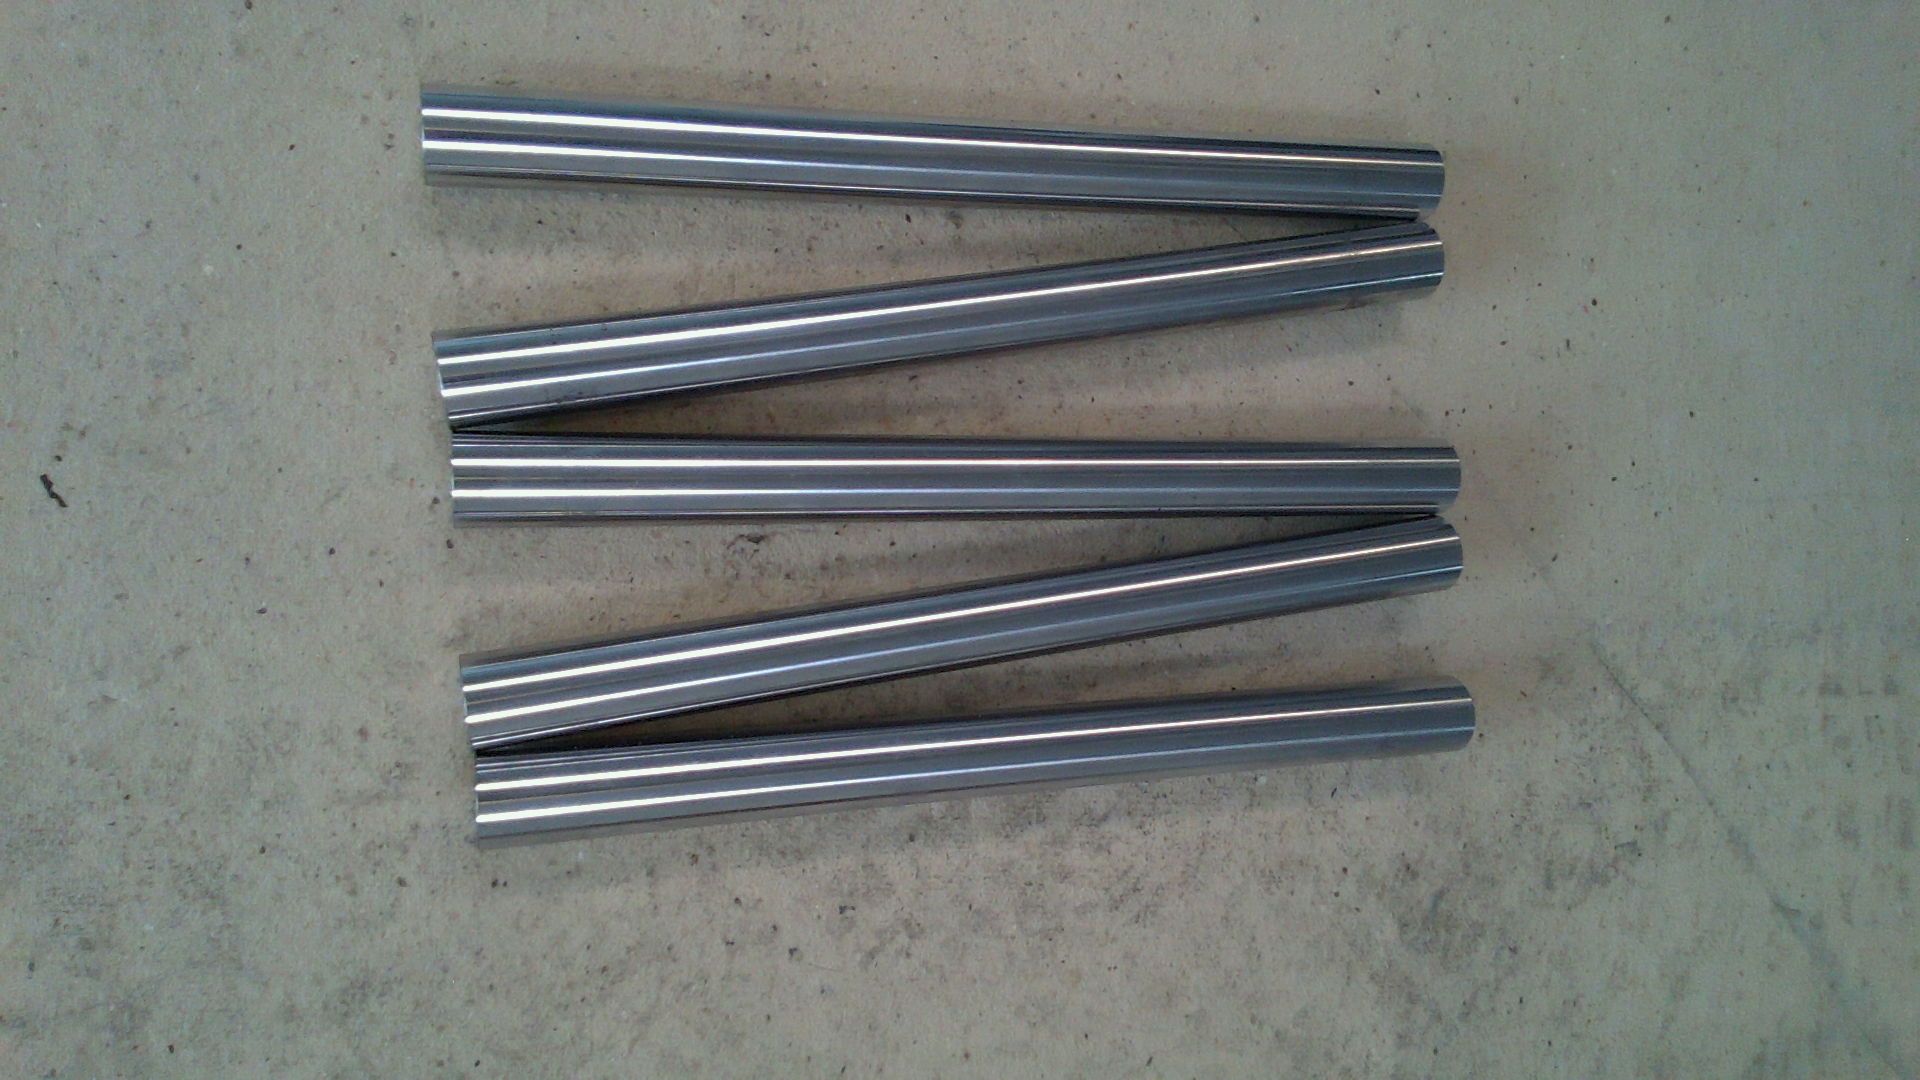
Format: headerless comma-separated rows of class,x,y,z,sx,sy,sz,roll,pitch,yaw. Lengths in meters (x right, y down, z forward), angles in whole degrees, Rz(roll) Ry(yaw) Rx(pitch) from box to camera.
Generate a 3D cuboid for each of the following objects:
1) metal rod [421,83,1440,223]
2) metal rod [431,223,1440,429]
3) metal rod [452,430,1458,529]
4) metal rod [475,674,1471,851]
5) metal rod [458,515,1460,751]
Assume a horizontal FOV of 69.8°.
metal rod,0.007,-0.108,0.396,0.301,0.025,0.025,-3,91,-20
metal rod,0.009,-0.065,0.397,0.301,0.025,0.025,-10,94,-20
metal rod,0.013,-0.018,0.398,0.301,0.025,0.025,-1,91,-20
metal rod,0.019,0.061,0.401,0.301,0.025,0.025,-2,91,-20
metal rod,0.015,0.022,0.399,0.301,0.025,0.025,-8,93,-20
